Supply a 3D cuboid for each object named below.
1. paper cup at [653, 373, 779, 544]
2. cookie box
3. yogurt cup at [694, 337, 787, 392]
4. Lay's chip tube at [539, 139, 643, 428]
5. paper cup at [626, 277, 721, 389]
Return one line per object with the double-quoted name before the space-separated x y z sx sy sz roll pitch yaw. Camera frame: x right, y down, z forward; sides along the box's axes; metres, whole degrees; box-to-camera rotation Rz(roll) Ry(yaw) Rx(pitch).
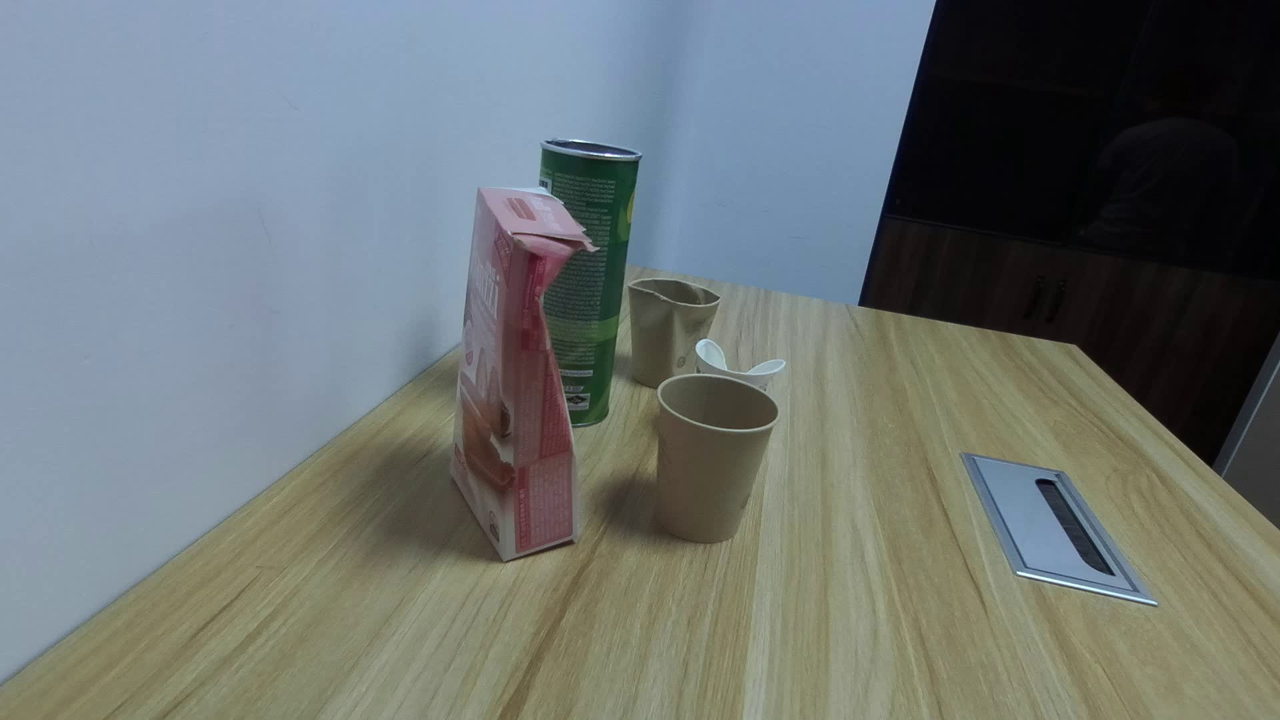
"paper cup" 0.040 0.061 0.427 0.075 0.082 0.075 7 22 -2
"cookie box" -0.065 0.007 0.394 0.056 0.184 0.118 -3 25 -25
"yogurt cup" 0.068 0.028 0.532 0.067 0.070 0.067 9 24 -4
"Lay's chip tube" -0.046 -0.055 0.525 0.071 0.202 0.071 7 21 -3
"paper cup" 0.026 -0.023 0.626 0.066 0.084 0.071 -14 30 -44
